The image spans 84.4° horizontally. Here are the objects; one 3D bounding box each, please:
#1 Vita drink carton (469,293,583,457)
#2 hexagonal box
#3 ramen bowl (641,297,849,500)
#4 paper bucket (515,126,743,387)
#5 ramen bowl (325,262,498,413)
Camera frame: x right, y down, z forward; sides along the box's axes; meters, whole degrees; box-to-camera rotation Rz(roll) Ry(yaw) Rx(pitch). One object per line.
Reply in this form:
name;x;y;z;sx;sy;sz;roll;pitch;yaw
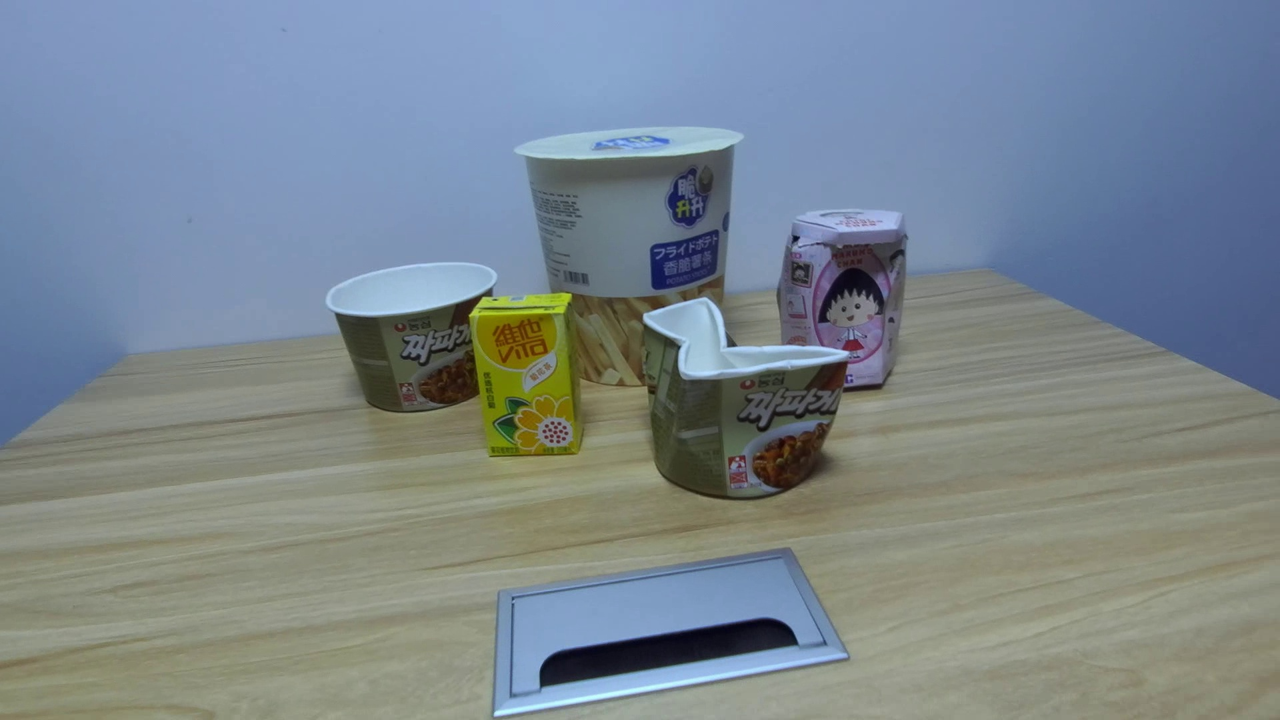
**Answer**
Vita drink carton;-0.077;0.011;0.501;0.066;0.109;0.043;-1;24;4
hexagonal box;0.164;-0.050;0.578;0.091;0.134;0.090;12;25;32
ramen bowl;0.061;0.021;0.473;0.112;0.093;0.128;-9;25;-12
paper bucket;-0.005;-0.093;0.623;0.198;0.195;0.198;-3;23;1
ramen bowl;-0.189;-0.022;0.613;0.140;0.095;0.140;-4;23;2
